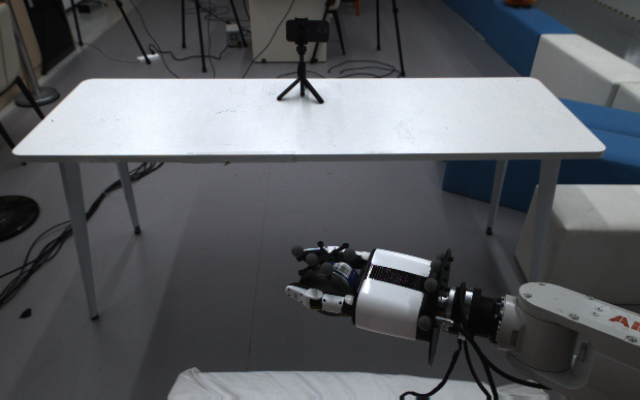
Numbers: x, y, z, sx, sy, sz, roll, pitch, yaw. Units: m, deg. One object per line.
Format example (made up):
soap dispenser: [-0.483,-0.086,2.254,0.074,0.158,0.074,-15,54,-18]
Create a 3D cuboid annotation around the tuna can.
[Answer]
tuna can: [0.019,0.122,0.695,0.085,0.085,0.034,15,34,17]
